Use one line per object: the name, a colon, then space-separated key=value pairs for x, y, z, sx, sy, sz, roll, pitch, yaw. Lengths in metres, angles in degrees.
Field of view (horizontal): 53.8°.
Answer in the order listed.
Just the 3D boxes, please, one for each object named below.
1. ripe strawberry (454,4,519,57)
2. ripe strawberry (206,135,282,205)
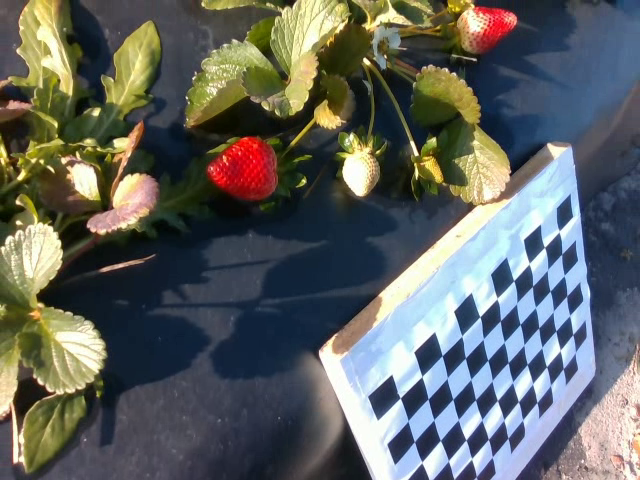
ripe strawberry: x=0.112 y=-0.143 z=0.427 sx=0.045 sy=0.042 sz=0.037 roll=-12 pitch=-44 yaw=30
ripe strawberry: x=-0.043 y=-0.039 z=0.333 sx=0.036 sy=0.044 sz=0.053 roll=16 pitch=19 yaw=39
